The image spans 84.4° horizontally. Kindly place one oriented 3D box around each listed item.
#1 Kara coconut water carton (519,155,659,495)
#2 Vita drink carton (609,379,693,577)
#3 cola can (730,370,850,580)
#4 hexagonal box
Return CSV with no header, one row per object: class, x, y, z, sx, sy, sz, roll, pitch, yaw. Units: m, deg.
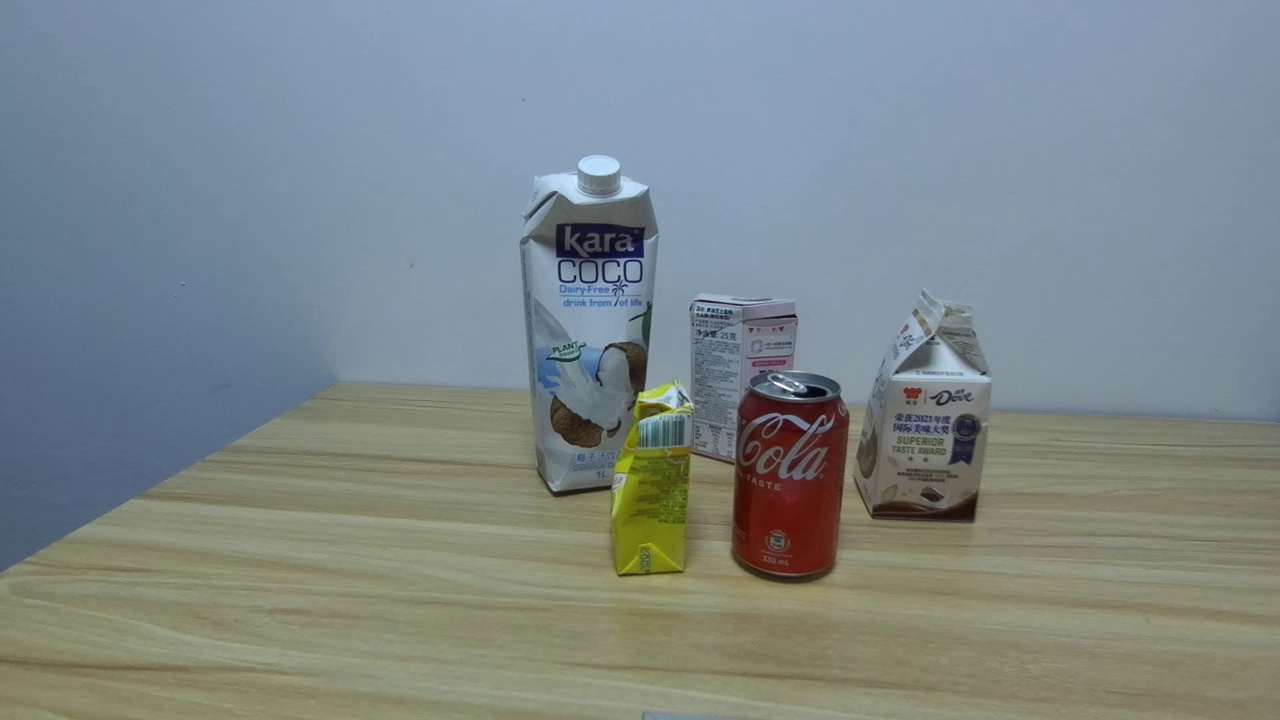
Kara coconut water carton,-0.036,-0.026,0.531,0.100,0.244,0.071,-6,17,-18
Vita drink carton,0.005,0.070,0.444,0.046,0.109,0.071,1,15,-7
cola can,0.092,0.069,0.435,0.068,0.120,0.068,0,17,0
hexagonal box,0.085,0.011,0.601,0.092,0.135,0.084,-7,18,-22
